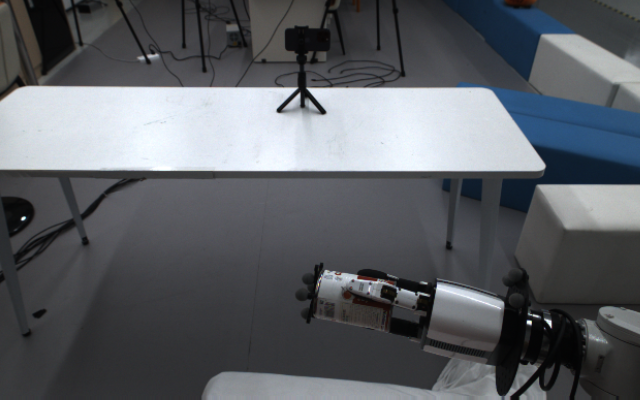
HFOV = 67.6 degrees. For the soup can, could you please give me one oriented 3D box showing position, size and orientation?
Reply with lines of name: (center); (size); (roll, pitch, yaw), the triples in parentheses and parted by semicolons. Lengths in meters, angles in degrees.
soup can: (0.050, 0.134, 0.649); (0.101, 0.067, 0.067); (8, 35, 9)
